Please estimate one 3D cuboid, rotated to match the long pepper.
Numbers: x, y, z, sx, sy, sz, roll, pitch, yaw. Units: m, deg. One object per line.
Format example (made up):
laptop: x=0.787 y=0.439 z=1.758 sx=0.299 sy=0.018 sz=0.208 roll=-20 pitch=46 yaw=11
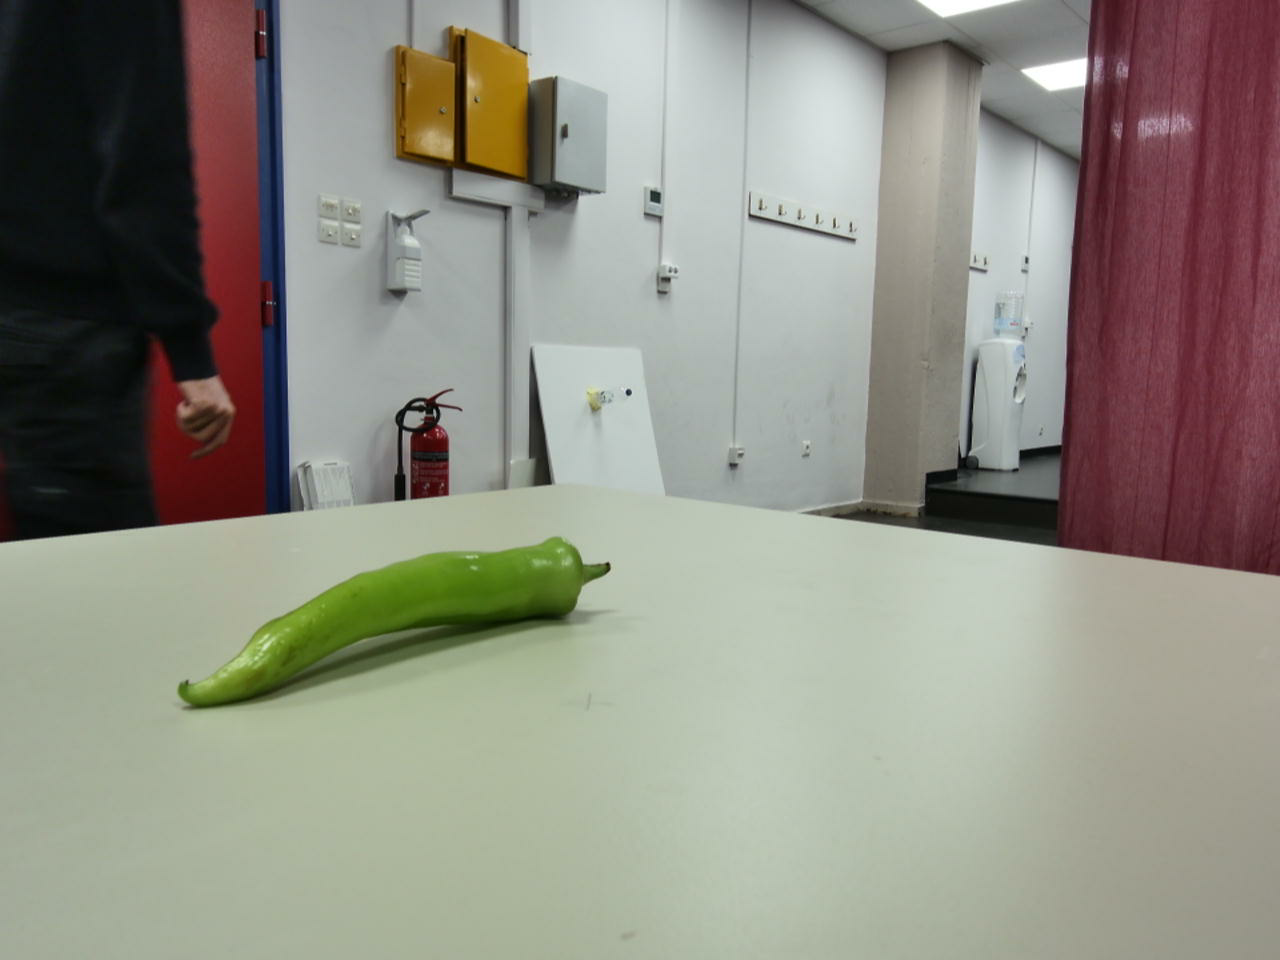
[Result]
long pepper: x=-0.094 y=0.050 z=0.408 sx=0.047 sy=0.038 sz=0.197 roll=3 pitch=5 yaw=41
